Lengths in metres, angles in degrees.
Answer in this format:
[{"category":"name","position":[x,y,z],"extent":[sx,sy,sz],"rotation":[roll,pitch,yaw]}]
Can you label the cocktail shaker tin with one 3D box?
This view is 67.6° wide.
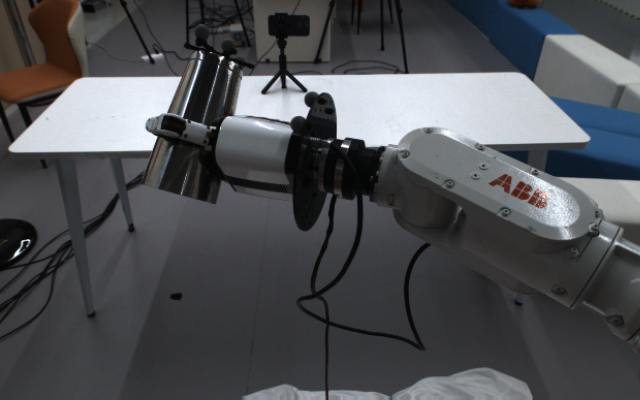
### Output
[{"category":"cocktail shaker tin","position":[-0.149,-0.087,0.591],"extent":[0.093,0.170,0.093],"rotation":[16,-4,1]}]
